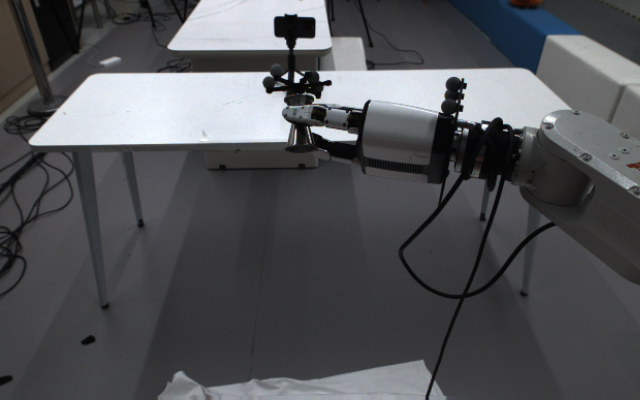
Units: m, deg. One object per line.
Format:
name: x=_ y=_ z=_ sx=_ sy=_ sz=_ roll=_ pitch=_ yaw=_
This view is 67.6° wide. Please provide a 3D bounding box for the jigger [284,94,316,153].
jigger: x=-0.027 y=-0.099 z=0.631 sx=0.043 sy=0.071 sz=0.043 roll=-2 pitch=-7 yaw=0
